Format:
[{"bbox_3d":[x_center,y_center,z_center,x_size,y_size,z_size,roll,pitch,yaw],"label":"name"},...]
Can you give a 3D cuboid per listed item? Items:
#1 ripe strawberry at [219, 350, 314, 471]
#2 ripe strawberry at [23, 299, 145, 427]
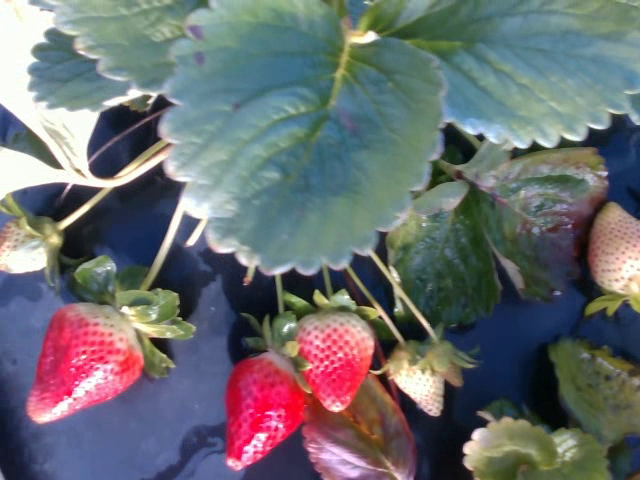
[{"bbox_3d":[-0.032,0.080,0.267,0.044,0.055,0.042,0,-41,38],"label":"ripe strawberry"},{"bbox_3d":[-0.115,0.059,0.274,0.050,0.065,0.050,28,-29,32],"label":"ripe strawberry"}]
